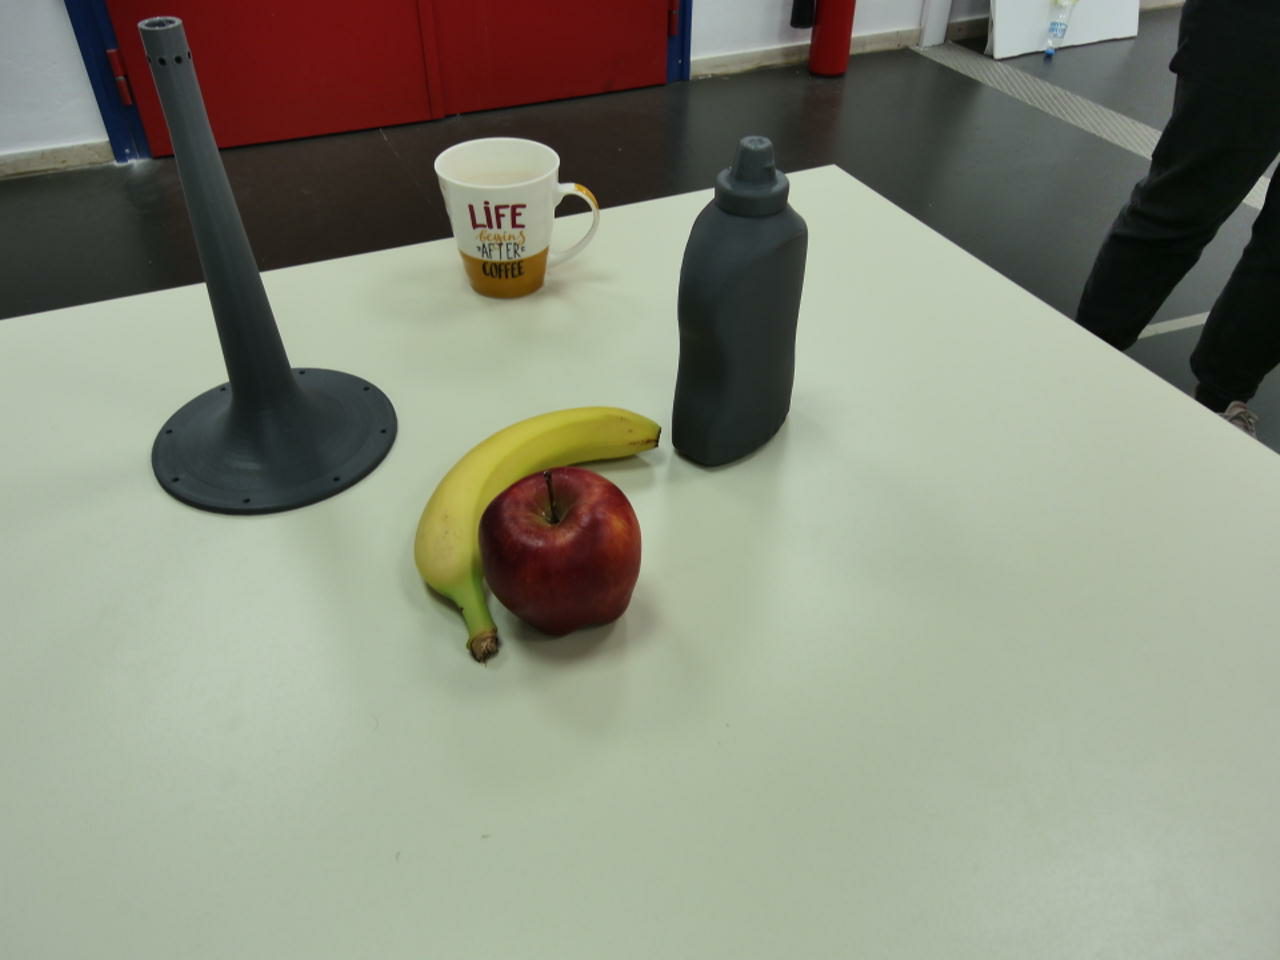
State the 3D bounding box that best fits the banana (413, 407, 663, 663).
[{"bbox_3d":[-0.070,0.011,0.577,0.094,0.041,0.196,20,42,22],"label":"banana"}]
